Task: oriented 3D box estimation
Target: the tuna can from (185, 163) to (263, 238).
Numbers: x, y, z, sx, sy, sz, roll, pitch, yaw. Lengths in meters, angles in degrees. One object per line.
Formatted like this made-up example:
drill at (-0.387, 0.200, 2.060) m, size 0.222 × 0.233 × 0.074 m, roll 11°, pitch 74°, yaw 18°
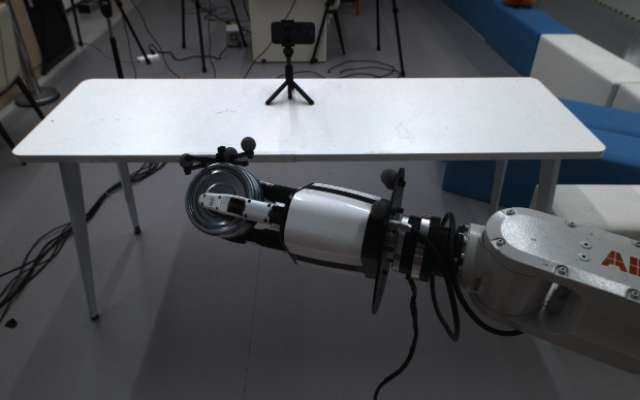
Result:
tuna can at (-0.106, 0.006, 0.555) m, size 0.085 × 0.085 × 0.034 m, roll 12°, pitch -6°, yaw 14°
